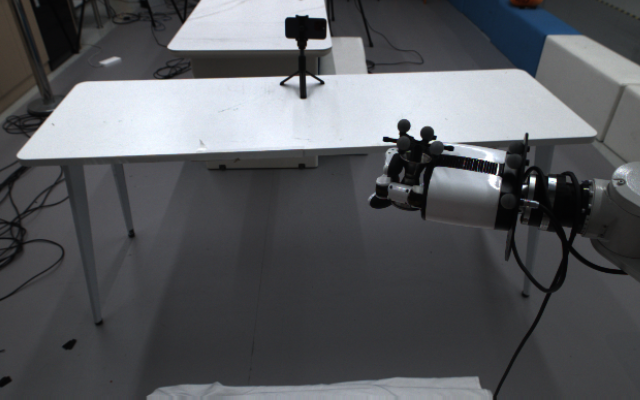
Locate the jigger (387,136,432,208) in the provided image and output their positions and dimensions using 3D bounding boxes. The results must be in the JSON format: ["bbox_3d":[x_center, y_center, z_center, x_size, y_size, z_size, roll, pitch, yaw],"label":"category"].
[{"bbox_3d":[0.121,-0.025,0.637,0.043,0.071,0.043,6,26,-3],"label":"jigger"}]
